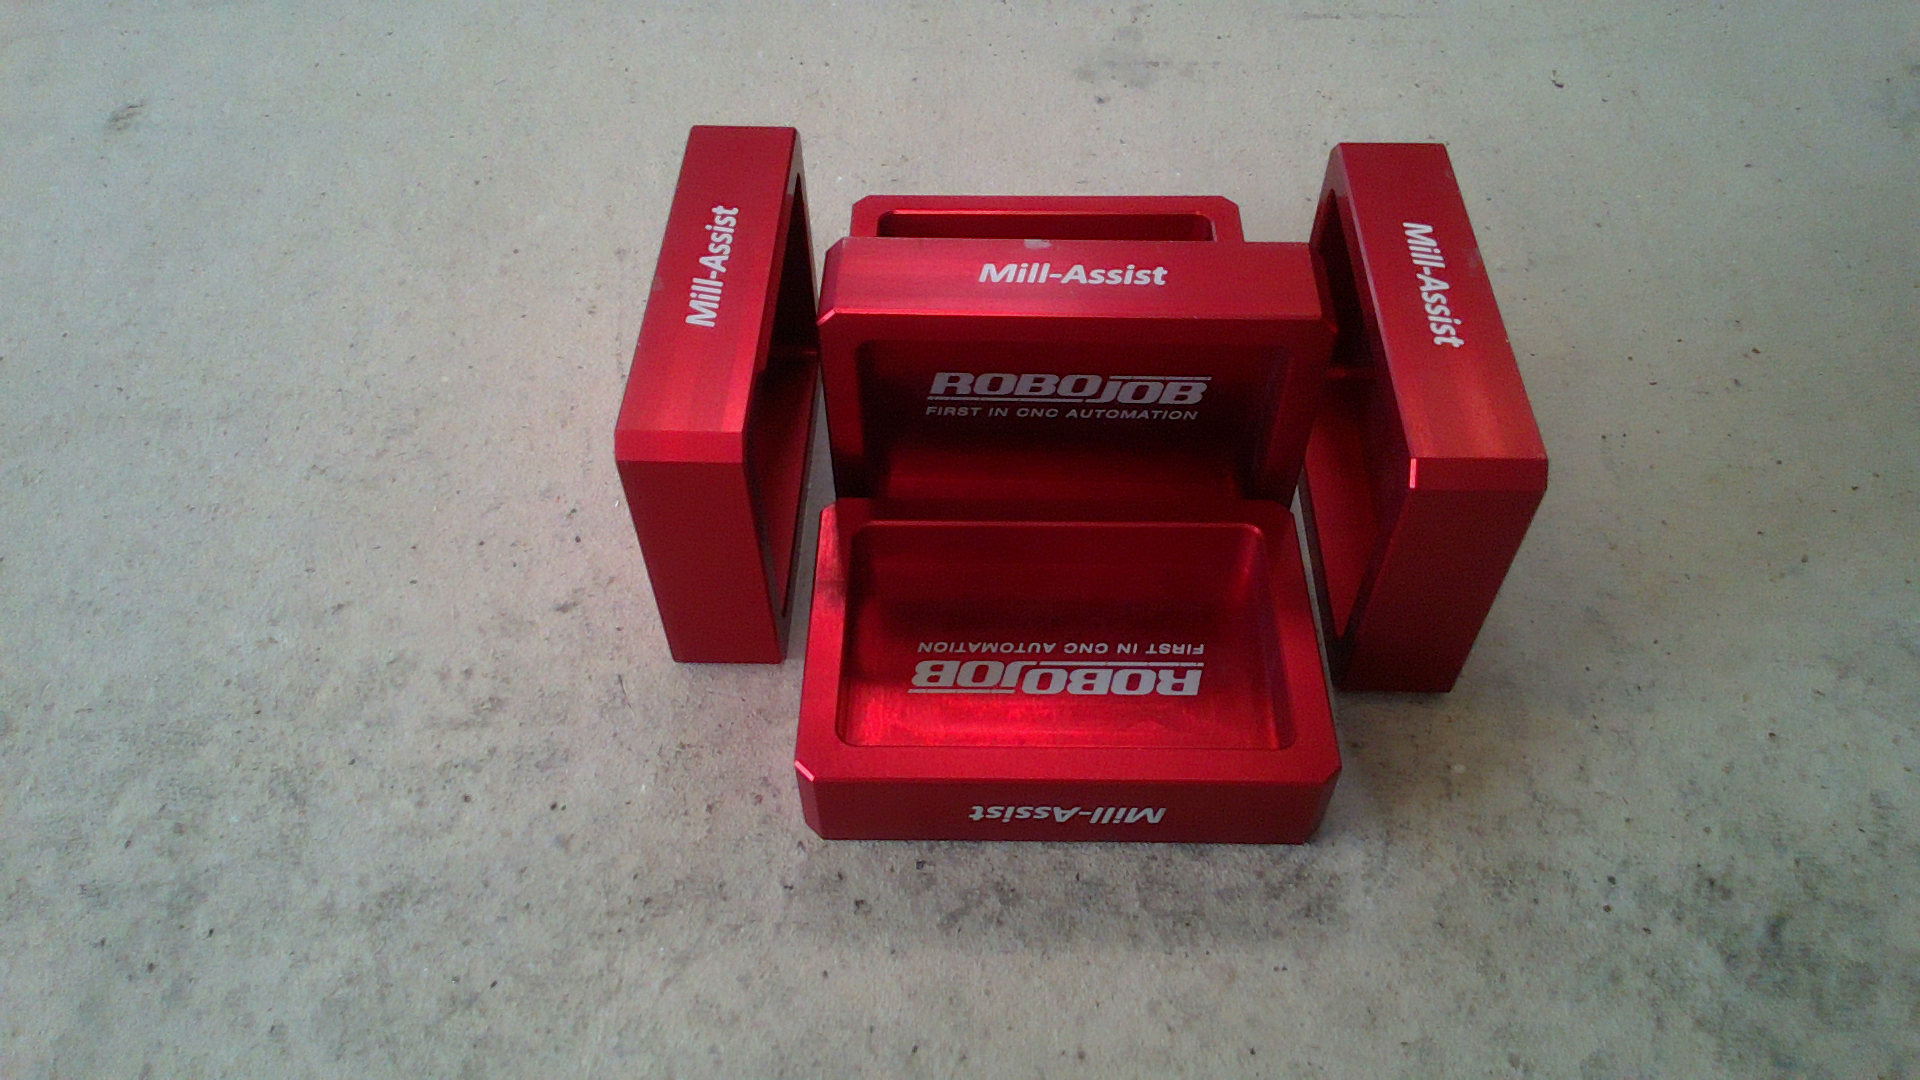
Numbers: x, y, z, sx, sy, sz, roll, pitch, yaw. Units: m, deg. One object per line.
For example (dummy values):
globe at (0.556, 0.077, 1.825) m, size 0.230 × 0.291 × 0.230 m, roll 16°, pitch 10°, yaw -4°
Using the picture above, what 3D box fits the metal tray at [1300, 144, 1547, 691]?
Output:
metal tray at (0.118, -0.035, 0.379) m, size 0.030 × 0.090 × 0.130 m, roll 1°, pitch 50°, yaw 1°

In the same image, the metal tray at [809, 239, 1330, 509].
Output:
metal tray at (0.028, -0.038, 0.383) m, size 0.130 × 0.090 × 0.030 m, roll 1°, pitch 51°, yaw 1°

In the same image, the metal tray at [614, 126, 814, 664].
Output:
metal tray at (-0.062, -0.042, 0.385) m, size 0.030 × 0.090 × 0.130 m, roll 1°, pitch 50°, yaw 1°

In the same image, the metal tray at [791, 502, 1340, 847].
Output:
metal tray at (0.025, 0.033, 0.363) m, size 0.130 × 0.030 × 0.090 m, roll 1°, pitch 49°, yaw 0°

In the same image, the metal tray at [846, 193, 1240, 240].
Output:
metal tray at (0.027, -0.073, 0.450) m, size 0.130 × 0.030 × 0.090 m, roll 0°, pitch 53°, yaw 0°
